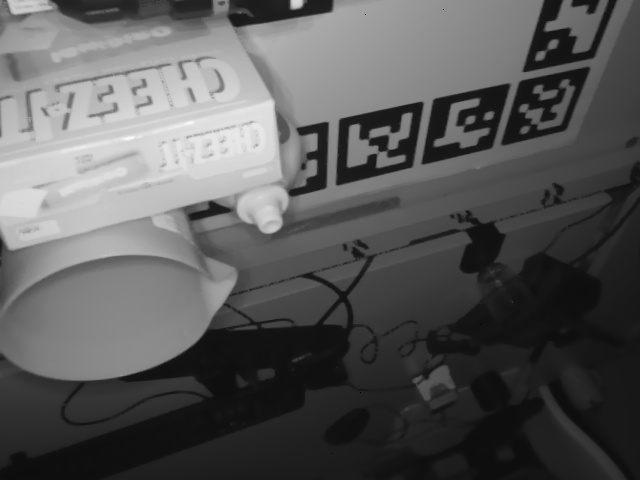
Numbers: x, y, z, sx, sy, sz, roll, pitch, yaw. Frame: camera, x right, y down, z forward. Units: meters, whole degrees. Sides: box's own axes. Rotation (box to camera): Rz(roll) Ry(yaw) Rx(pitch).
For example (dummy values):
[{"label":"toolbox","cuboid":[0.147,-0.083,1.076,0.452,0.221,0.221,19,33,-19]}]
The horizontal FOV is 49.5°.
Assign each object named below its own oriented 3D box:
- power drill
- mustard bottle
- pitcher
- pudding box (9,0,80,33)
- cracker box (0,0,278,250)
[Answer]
[{"label":"power drill","cuboid":[-0.068,-0.192,0.391,0.186,0.187,0.057,-14,143,-13]},{"label":"mustard bottle","cuboid":[-0.063,-0.068,0.563,0.097,0.191,0.057,-4,135,-24]},{"label":"pitcher","cuboid":[-0.185,-0.029,0.521,0.191,0.242,0.131,-11,138,-20]},{"label":"pudding box","cuboid":[-0.151,-0.184,0.463,0.115,0.090,0.038,-15,141,-17]},{"label":"cracker box","cuboid":[-0.141,-0.112,0.463,0.166,0.213,0.071,-17,142,-15]}]
